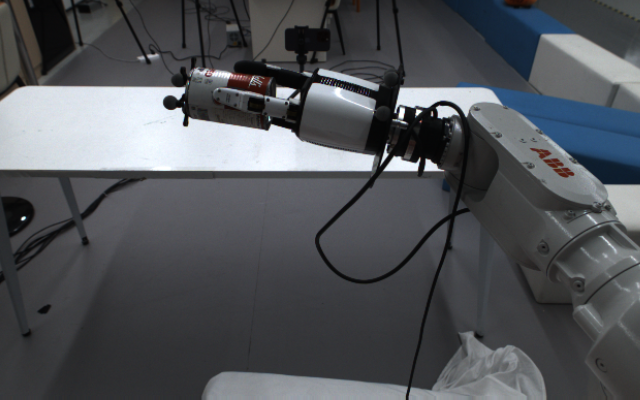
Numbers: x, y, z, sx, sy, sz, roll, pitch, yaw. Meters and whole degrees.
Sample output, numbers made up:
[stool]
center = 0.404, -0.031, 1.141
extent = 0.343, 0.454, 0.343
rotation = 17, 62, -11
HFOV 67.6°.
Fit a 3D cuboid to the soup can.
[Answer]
[soup can]
center = -0.111, -0.129, 0.620
extent = 0.101, 0.067, 0.067
rotation = 8, 35, 2
